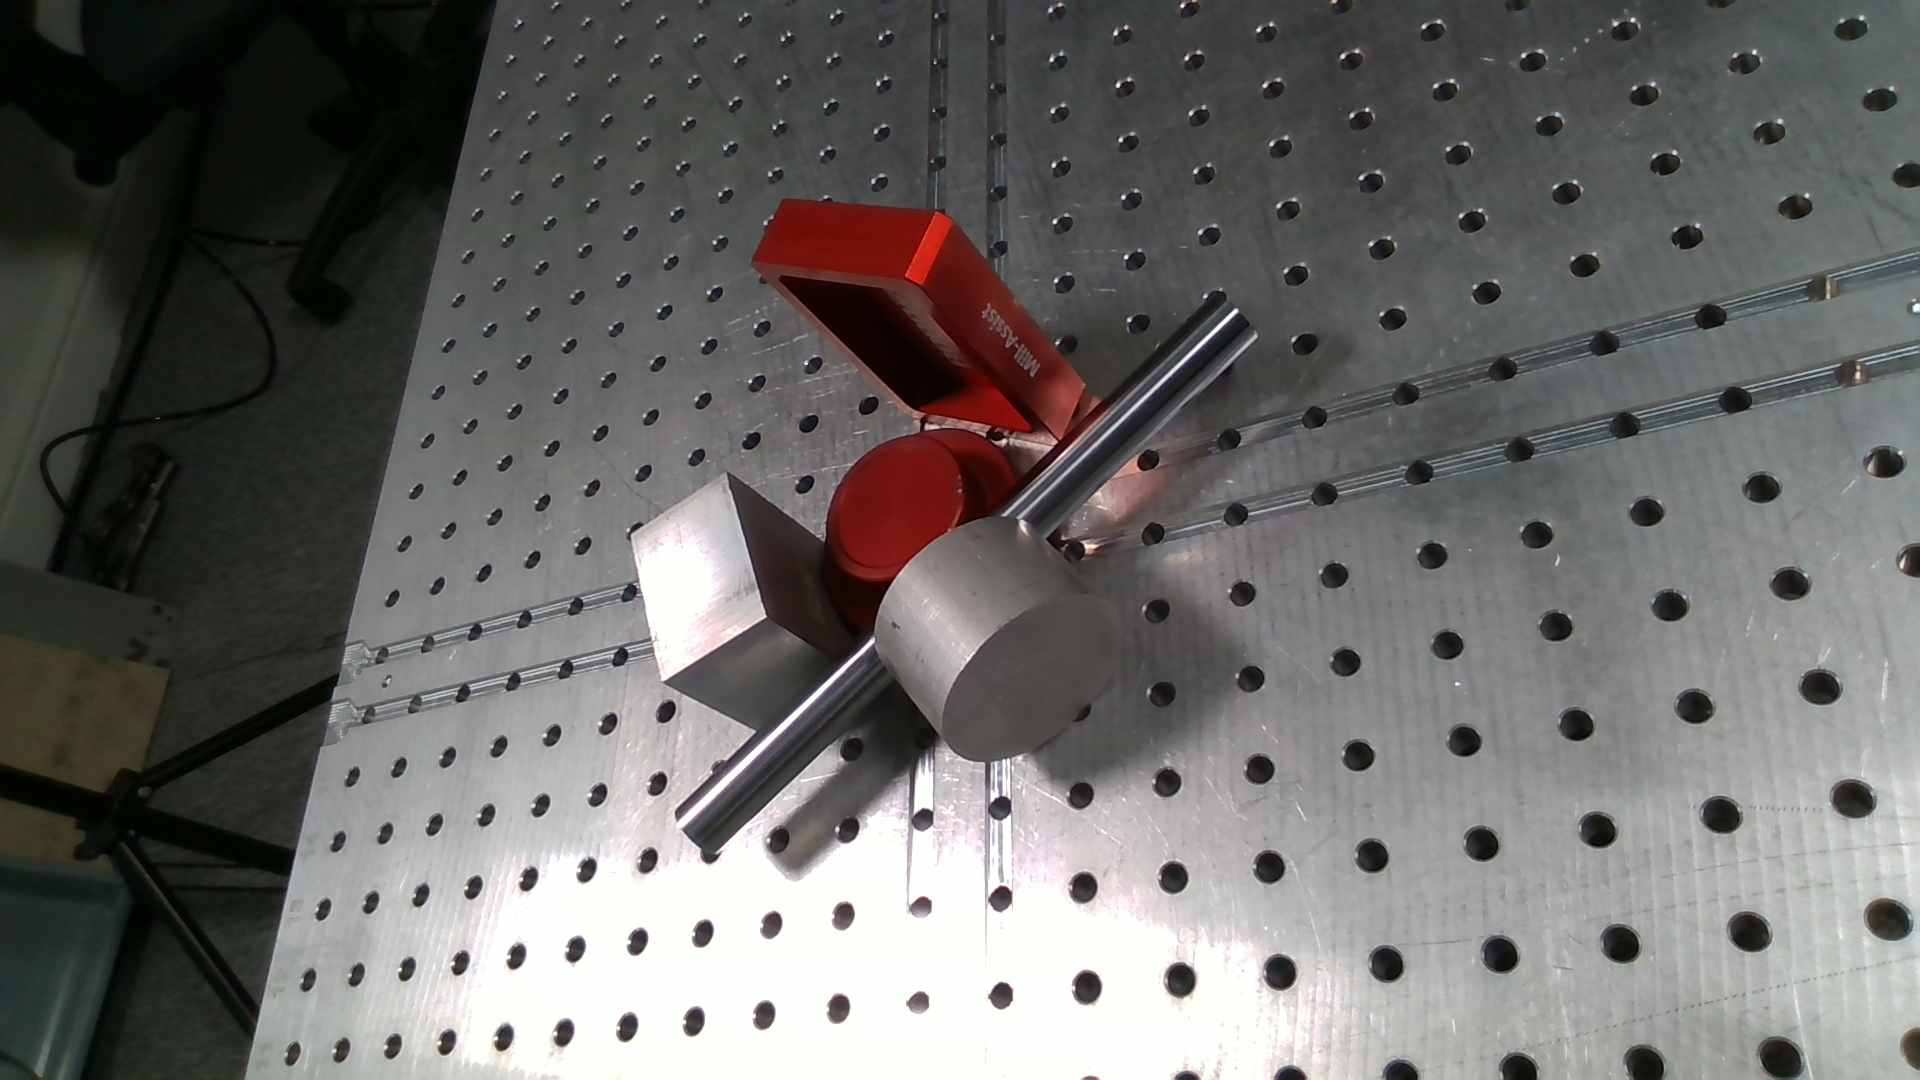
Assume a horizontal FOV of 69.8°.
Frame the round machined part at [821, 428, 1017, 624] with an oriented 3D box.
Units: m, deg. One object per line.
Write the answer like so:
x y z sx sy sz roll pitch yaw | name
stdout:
-0.019 -0.006 0.592 0.098 0.042 0.098 -14 59 25 | round machined part

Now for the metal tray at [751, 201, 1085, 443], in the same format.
-0.015 -0.089 0.578 0.090 0.130 0.030 14 73 36 | metal tray

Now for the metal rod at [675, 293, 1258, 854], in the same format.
0.000 0.016 0.553 0.300 0.025 0.025 -44 51 4 | metal rod

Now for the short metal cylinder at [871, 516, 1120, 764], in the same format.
0.013 0.038 0.523 0.080 0.080 0.050 -45 51 3 | short metal cylinder

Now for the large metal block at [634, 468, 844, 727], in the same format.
-0.089 0.029 0.592 0.050 0.080 0.080 -31 53 14 | large metal block
